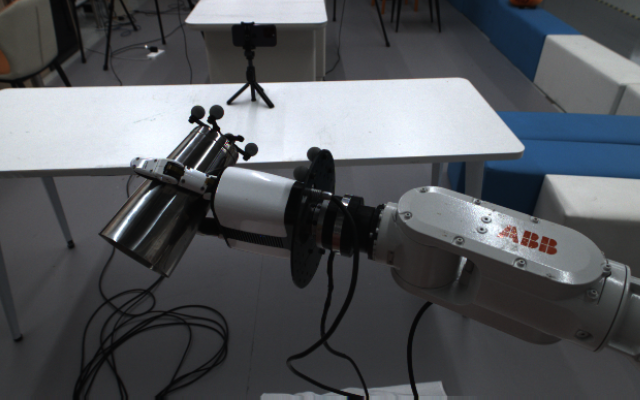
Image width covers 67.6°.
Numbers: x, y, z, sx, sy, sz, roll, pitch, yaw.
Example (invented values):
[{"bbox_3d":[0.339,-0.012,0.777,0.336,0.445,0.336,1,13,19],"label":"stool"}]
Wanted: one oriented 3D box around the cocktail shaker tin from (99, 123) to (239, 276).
[{"bbox_3d":[-0.169,-0.006,0.578,0.093,0.093,0.170,20,67,24],"label":"cocktail shaker tin"}]
